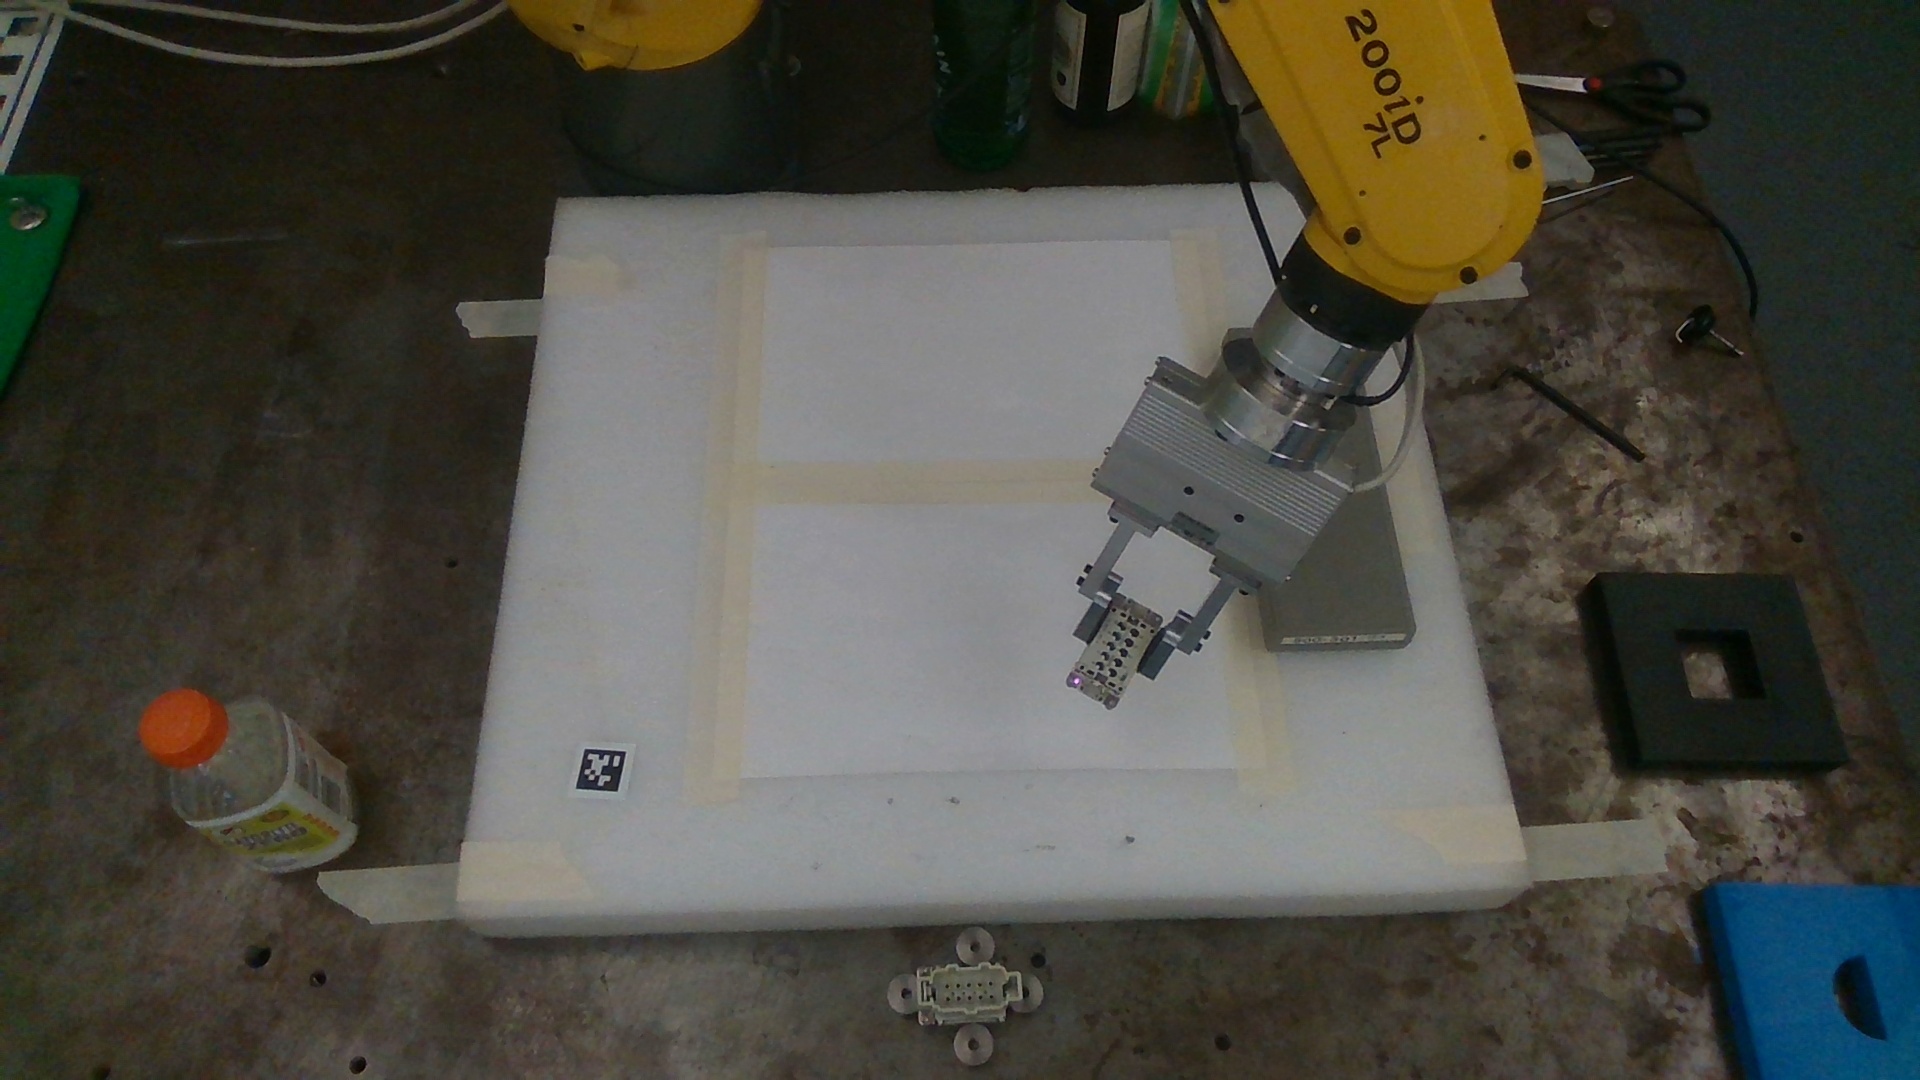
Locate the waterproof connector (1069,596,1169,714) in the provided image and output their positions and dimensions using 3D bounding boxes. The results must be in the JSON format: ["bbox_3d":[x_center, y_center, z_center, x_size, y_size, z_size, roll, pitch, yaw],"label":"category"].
[{"bbox_3d":[0.097,0.069,0.851,0.037,0.038,0.069,29,85,3],"label":"waterproof connector"}]
